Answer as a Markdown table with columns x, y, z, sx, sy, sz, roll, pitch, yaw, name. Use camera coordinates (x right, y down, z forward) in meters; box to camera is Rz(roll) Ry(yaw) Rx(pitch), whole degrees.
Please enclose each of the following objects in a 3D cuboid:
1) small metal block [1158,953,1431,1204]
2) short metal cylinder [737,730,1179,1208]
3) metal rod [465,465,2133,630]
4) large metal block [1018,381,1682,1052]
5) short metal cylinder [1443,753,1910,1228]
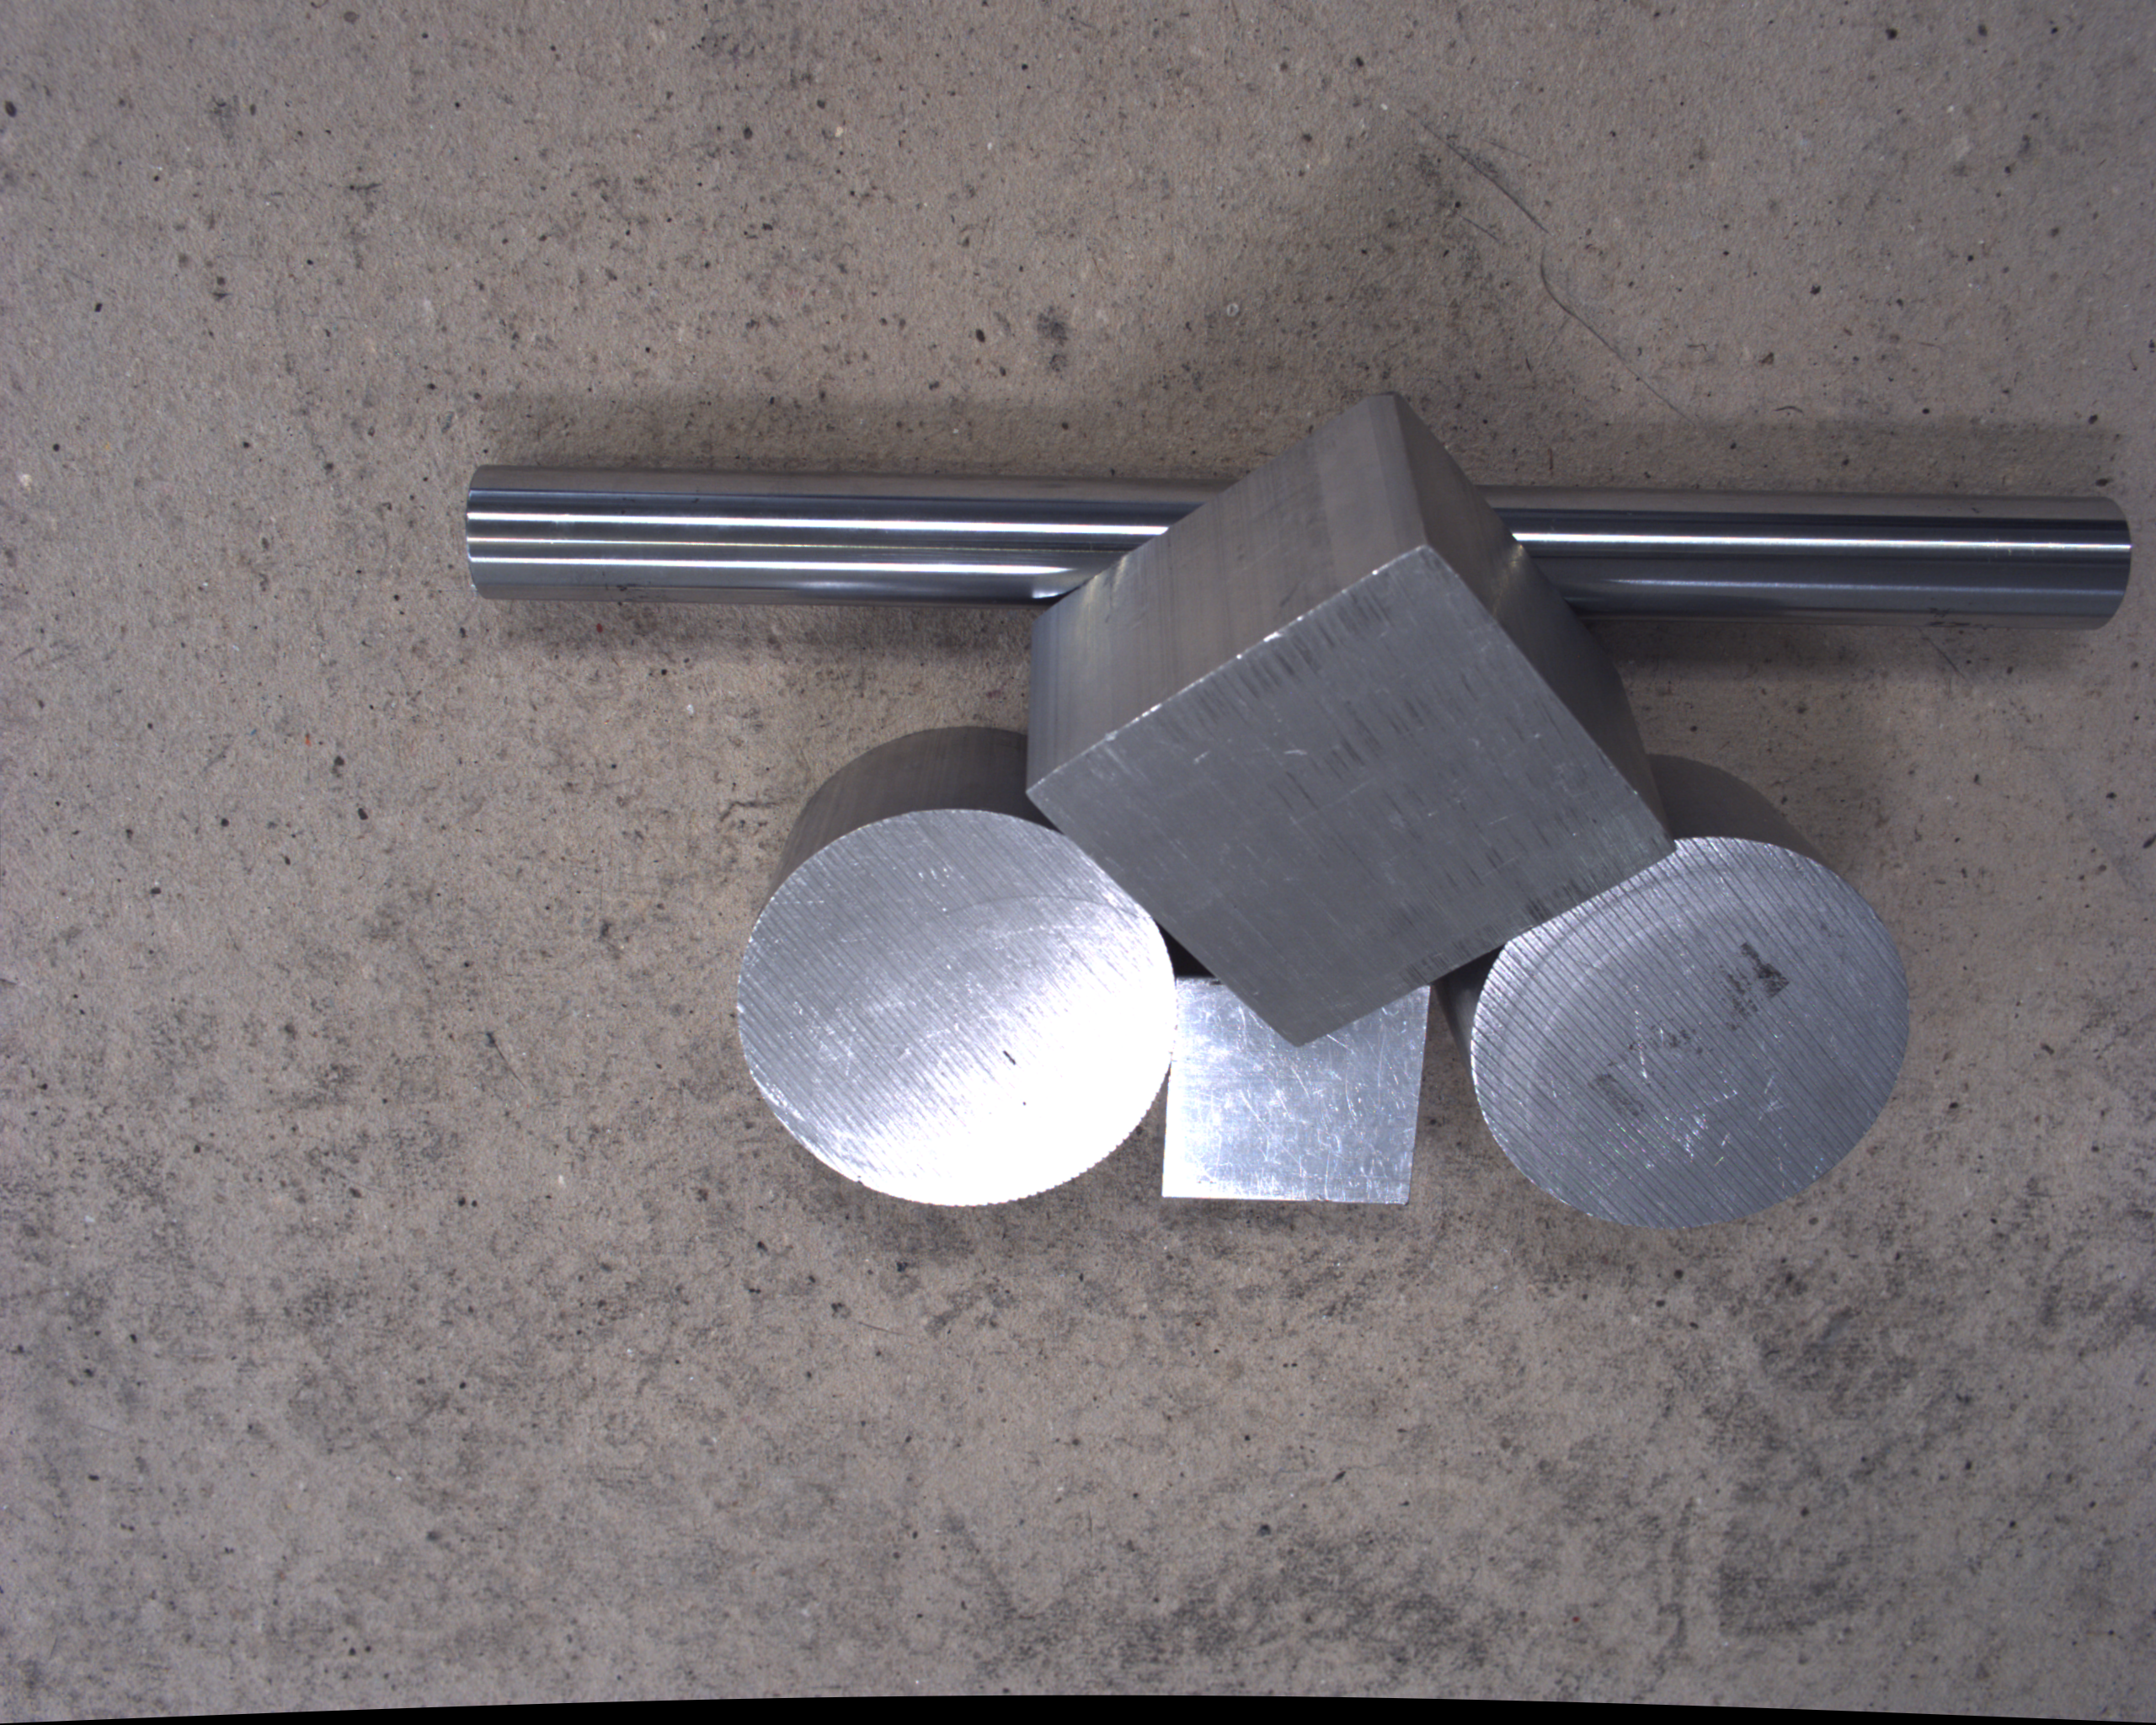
| x | y | z | sx | sy | sz | roll | pitch | yaw | name |
| --- | --- | --- | --- | --- | --- | --- | --- | --- | --- |
| 0.043 | 0.041 | 0.427 | 0.050 | 0.025 | 0.050 | 2 | 110 | -1 | small metal block |
| -0.022 | 0.019 | 0.404 | 0.081 | 0.050 | 0.079 | 0 | 110 | 0 | short metal cylinder |
| 0.041 | -0.059 | 0.389 | 0.302 | 0.025 | 0.025 | 1 | 110 | -1 | metal rod |
| 0.047 | -0.023 | 0.371 | 0.080 | 0.050 | 0.080 | -31 | 124 | 24 | large metal block |
| 0.113 | 0.024 | 0.407 | 0.081 | 0.050 | 0.079 | 0 | 110 | 0 | short metal cylinder |
